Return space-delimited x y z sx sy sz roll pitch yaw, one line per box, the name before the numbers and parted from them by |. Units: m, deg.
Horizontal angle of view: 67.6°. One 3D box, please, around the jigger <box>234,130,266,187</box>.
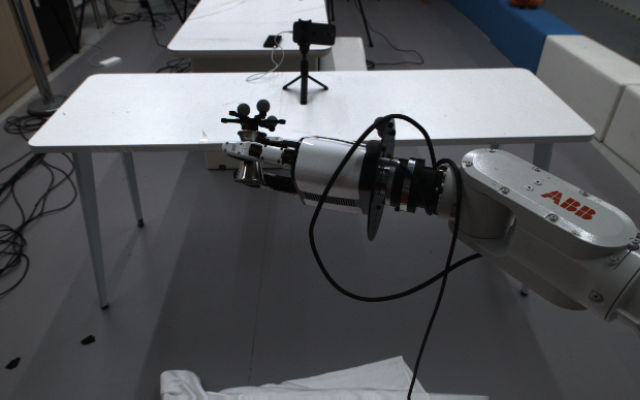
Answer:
jigger | -0.094 -0.057 0.660 0.043 0.071 0.043 2 -6 0
